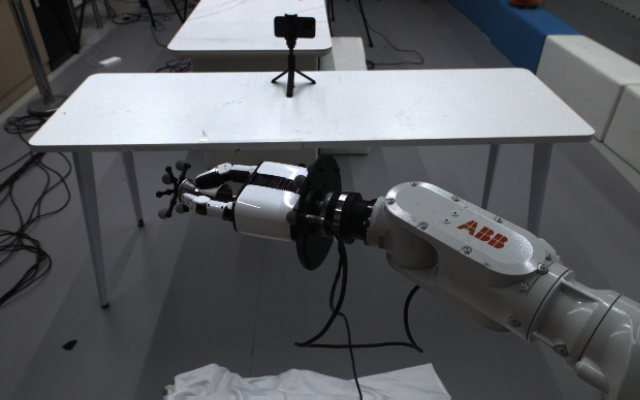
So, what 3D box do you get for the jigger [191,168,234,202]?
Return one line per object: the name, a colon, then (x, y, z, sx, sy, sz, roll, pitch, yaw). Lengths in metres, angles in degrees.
jigger: (-0.166, -0.010, 0.720, 0.071, 0.043, 0.043, 9, 35, 22)
